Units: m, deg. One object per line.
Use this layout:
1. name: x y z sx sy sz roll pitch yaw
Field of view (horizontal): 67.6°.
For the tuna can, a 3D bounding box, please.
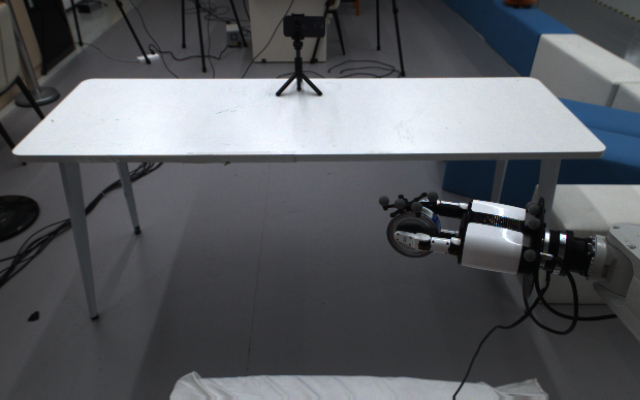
1. tuna can: 0.157 0.051 0.799 0.085 0.085 0.034 13 27 16
